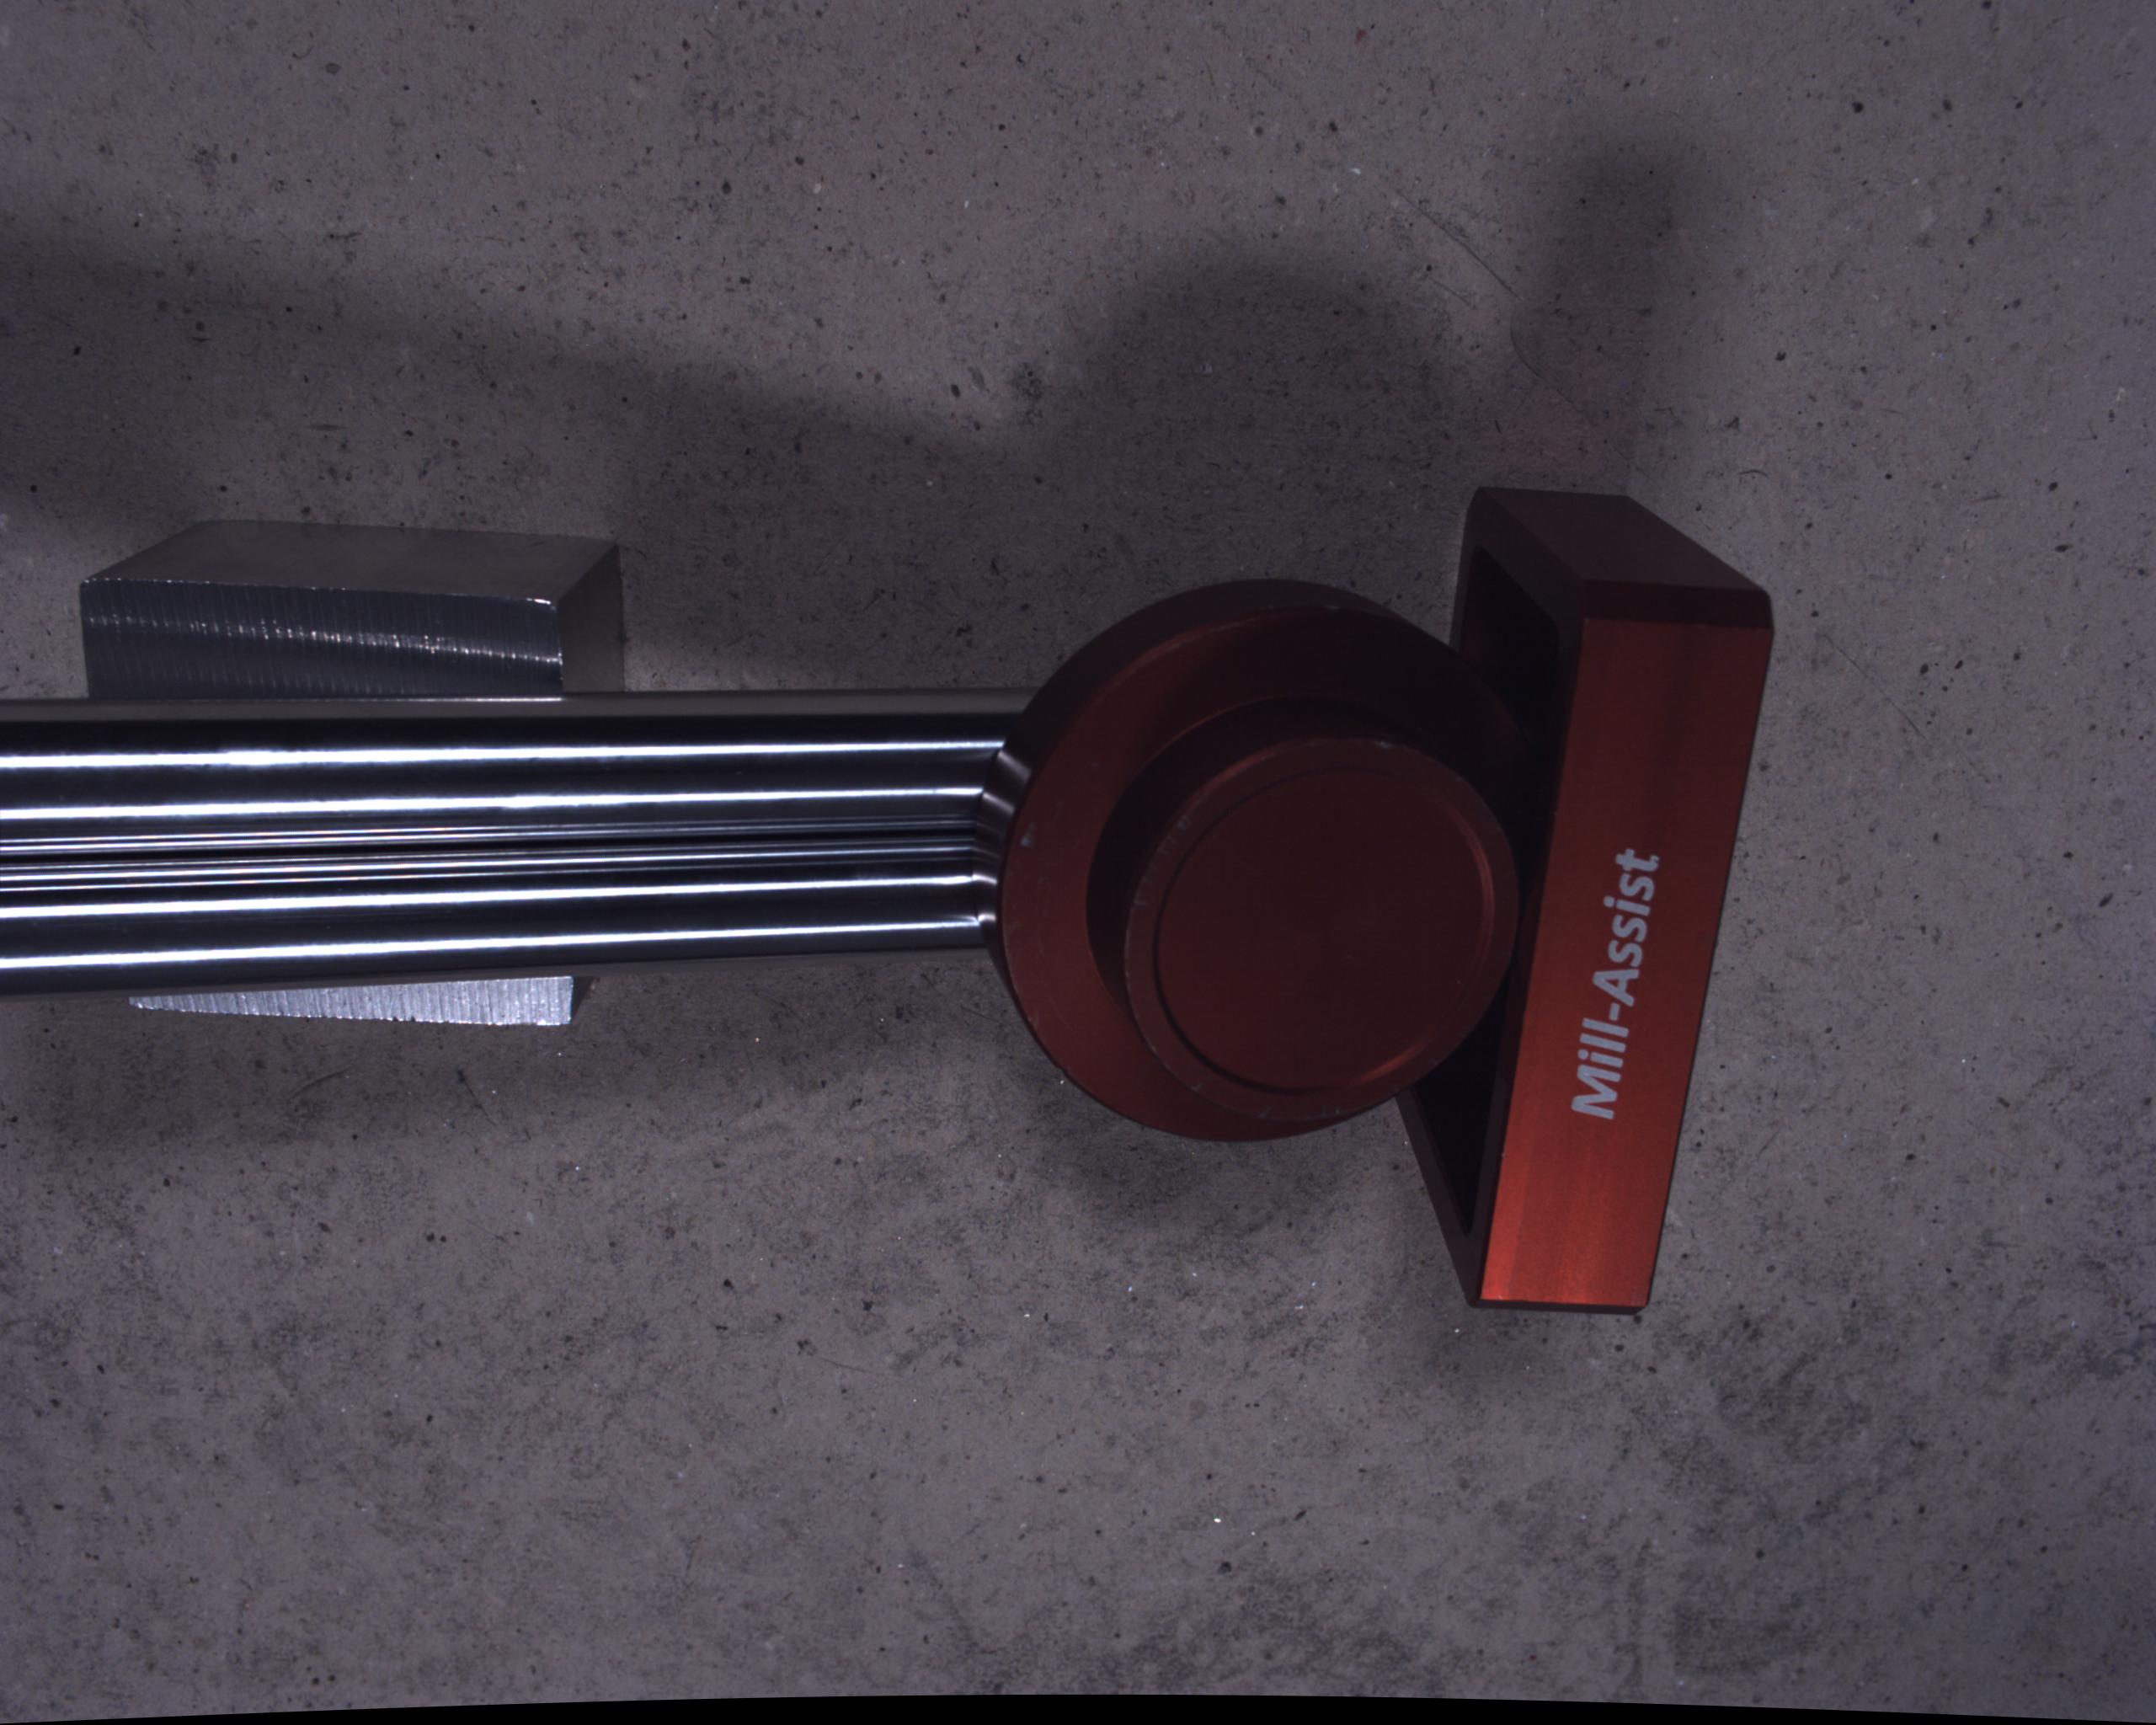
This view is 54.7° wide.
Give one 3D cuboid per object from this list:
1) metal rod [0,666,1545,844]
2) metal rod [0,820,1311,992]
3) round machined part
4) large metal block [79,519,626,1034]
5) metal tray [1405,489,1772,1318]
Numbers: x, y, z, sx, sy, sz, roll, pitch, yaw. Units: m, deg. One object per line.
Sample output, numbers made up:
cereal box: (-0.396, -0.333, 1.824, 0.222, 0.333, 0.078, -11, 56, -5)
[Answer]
metal rod: (-0.065, -0.019, 0.355, 0.302, 0.025, 0.025, -2, 111, -13)
metal rod: (-0.067, 0.006, 0.364, 0.302, 0.025, 0.025, -2, 111, -14)
round machined part: (0.034, 0.005, 0.352, 0.099, 0.042, 0.097, -4, 113, -10)
large metal block: (-0.129, -0.017, 0.386, 0.081, 0.050, 0.079, 3, 110, -2)
metal tray: (0.087, 0.004, 0.379, 0.030, 0.090, 0.129, 3, 110, -2)
